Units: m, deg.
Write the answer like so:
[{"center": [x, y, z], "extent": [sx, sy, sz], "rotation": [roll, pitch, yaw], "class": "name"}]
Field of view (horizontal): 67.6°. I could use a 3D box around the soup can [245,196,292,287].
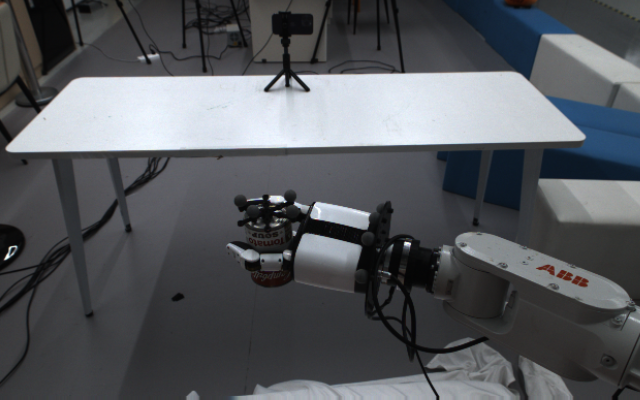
[{"center": [-0.069, 0.064, 0.684], "extent": [0.067, 0.101, 0.067], "rotation": [-2, 32, 1], "class": "soup can"}]
